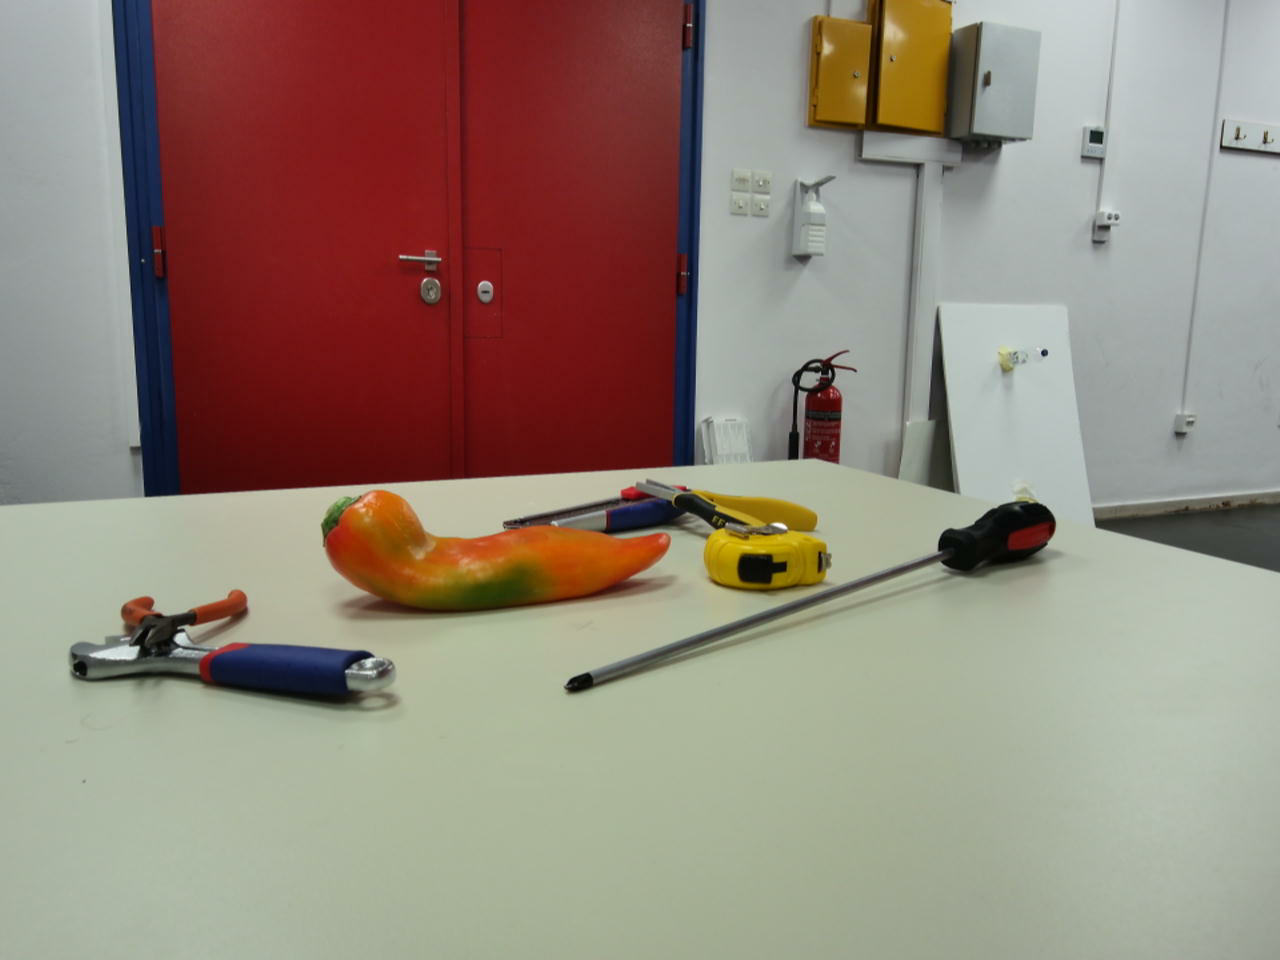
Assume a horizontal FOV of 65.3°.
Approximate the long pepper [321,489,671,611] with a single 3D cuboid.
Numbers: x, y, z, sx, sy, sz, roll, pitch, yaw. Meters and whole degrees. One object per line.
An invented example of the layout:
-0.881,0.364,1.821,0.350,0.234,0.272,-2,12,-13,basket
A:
-0.073,0.034,0.559,0.199,0.065,0.066,-3,8,-19,long pepper
